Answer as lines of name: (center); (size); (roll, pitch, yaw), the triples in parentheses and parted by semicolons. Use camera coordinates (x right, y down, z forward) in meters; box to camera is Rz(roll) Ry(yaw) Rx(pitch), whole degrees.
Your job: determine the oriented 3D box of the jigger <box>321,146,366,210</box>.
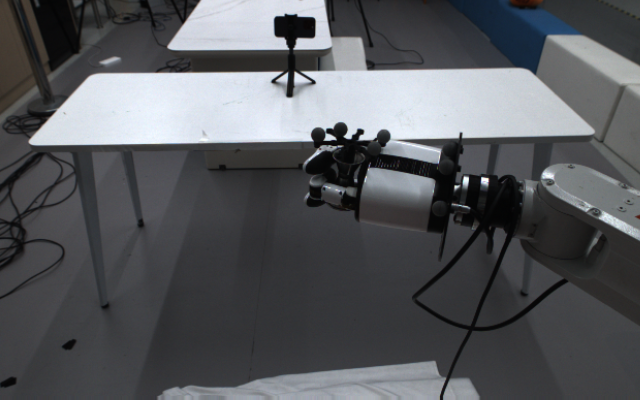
jigger: (0.033, -0.028, 0.622); (0.043, 0.071, 0.043); (4, 31, -2)
